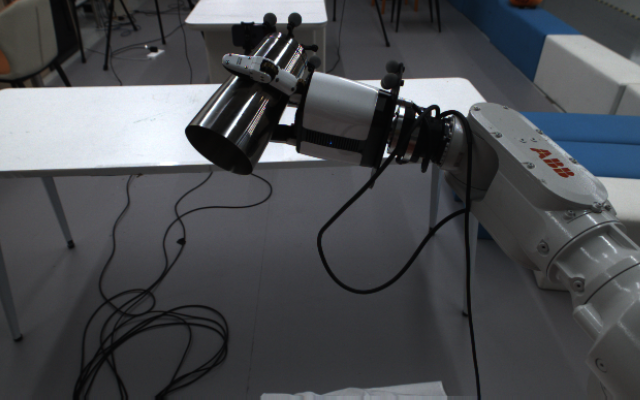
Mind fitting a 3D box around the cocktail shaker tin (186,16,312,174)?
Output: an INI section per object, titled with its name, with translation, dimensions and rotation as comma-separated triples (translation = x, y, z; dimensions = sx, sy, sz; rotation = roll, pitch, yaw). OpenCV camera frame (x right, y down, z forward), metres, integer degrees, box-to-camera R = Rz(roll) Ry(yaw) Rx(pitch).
[cocktail shaker tin]
translation = -0.079, -0.129, 0.601
dimensions = 0.093, 0.093, 0.170
rotation = 18, 66, 21
